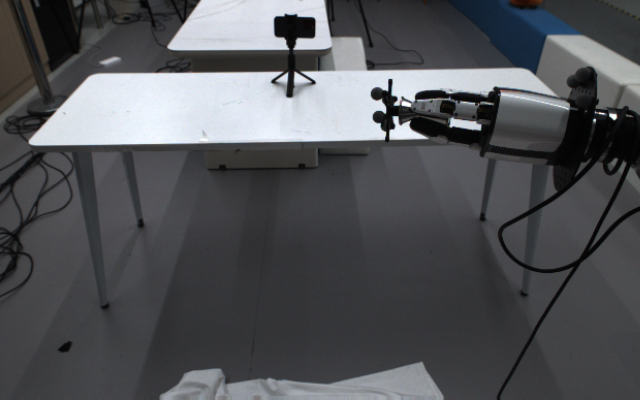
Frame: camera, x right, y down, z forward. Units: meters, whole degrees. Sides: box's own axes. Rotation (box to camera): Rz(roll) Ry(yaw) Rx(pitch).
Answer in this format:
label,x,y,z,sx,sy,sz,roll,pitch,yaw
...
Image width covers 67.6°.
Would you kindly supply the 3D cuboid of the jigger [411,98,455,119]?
label,x,y,z,sx,sy,sz,roll,pitch,yaw
jigger,0.154,-0.129,0.678,0.071,0.043,0.043,4,34,18
